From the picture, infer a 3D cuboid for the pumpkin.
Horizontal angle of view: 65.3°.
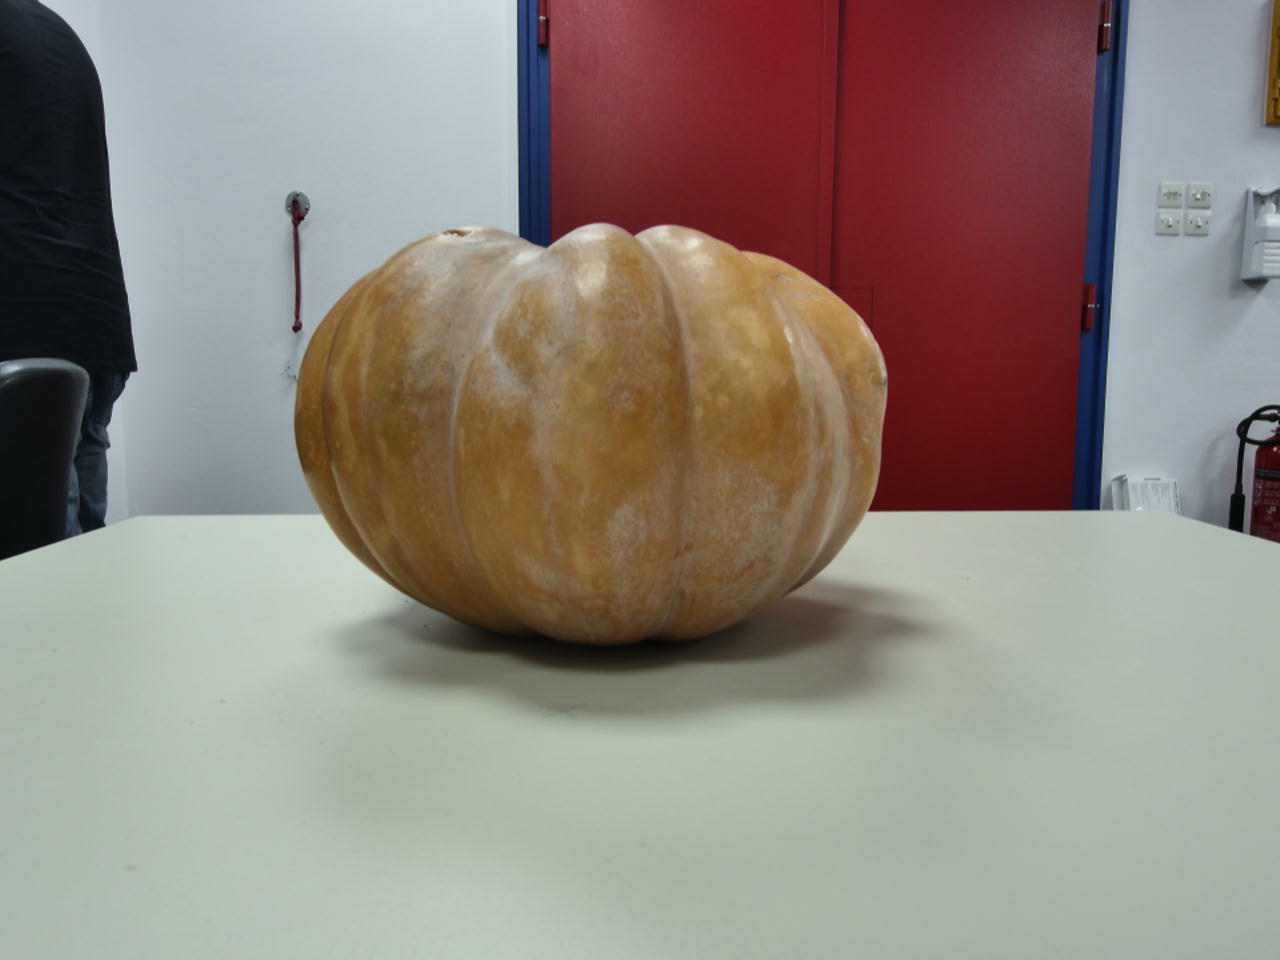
[{"bbox_3d":[-0.019,-0.024,0.463,0.277,0.181,0.277,0,5,0],"label":"pumpkin"}]
